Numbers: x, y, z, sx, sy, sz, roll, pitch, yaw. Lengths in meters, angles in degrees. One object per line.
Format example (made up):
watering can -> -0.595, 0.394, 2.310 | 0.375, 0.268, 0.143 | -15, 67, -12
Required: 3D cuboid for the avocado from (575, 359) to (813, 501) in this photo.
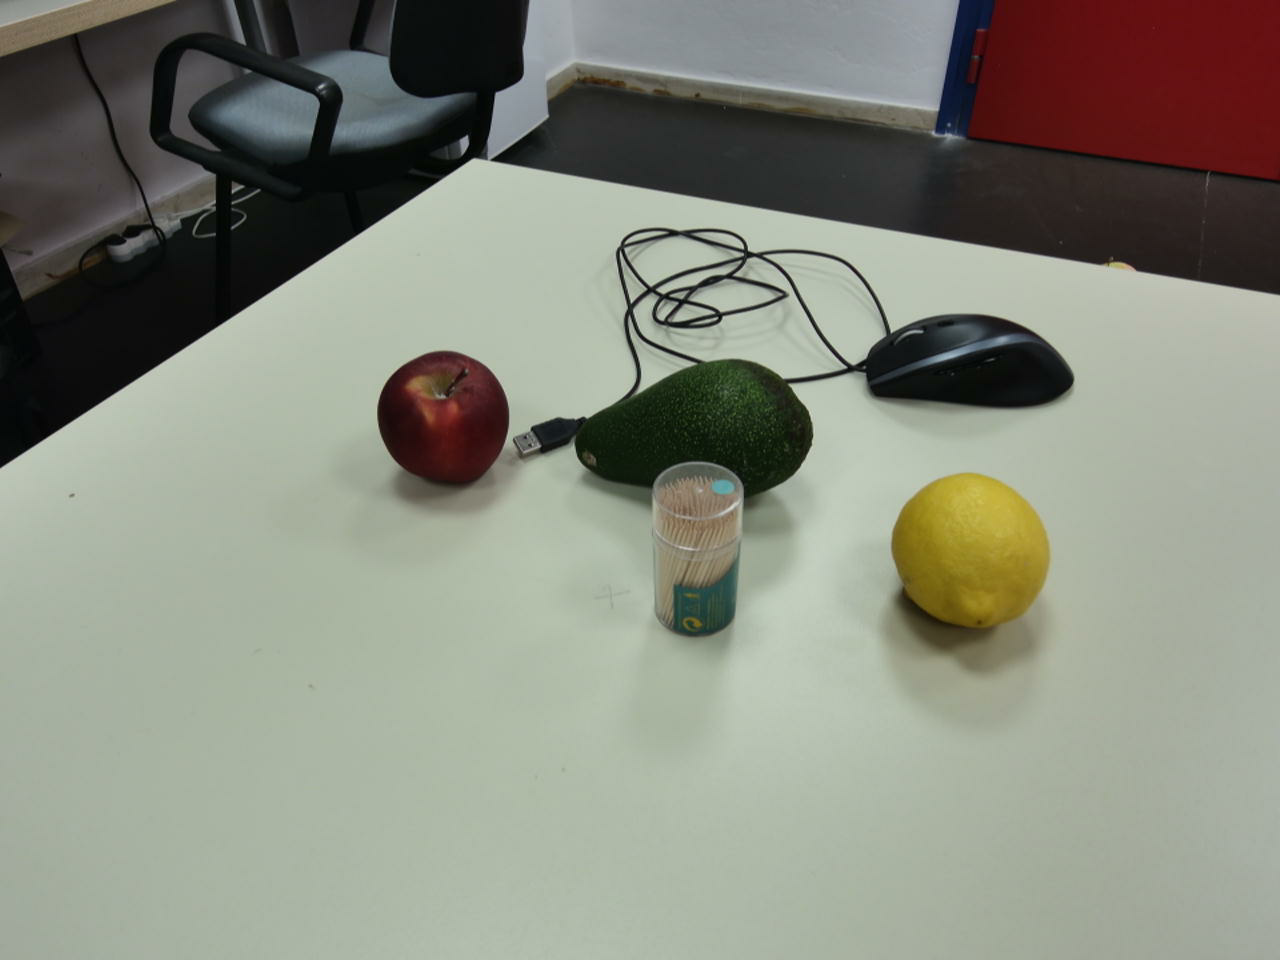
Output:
avocado -> 0.031, -0.031, 0.524 | 0.123, 0.076, 0.074 | 21, 43, 25
